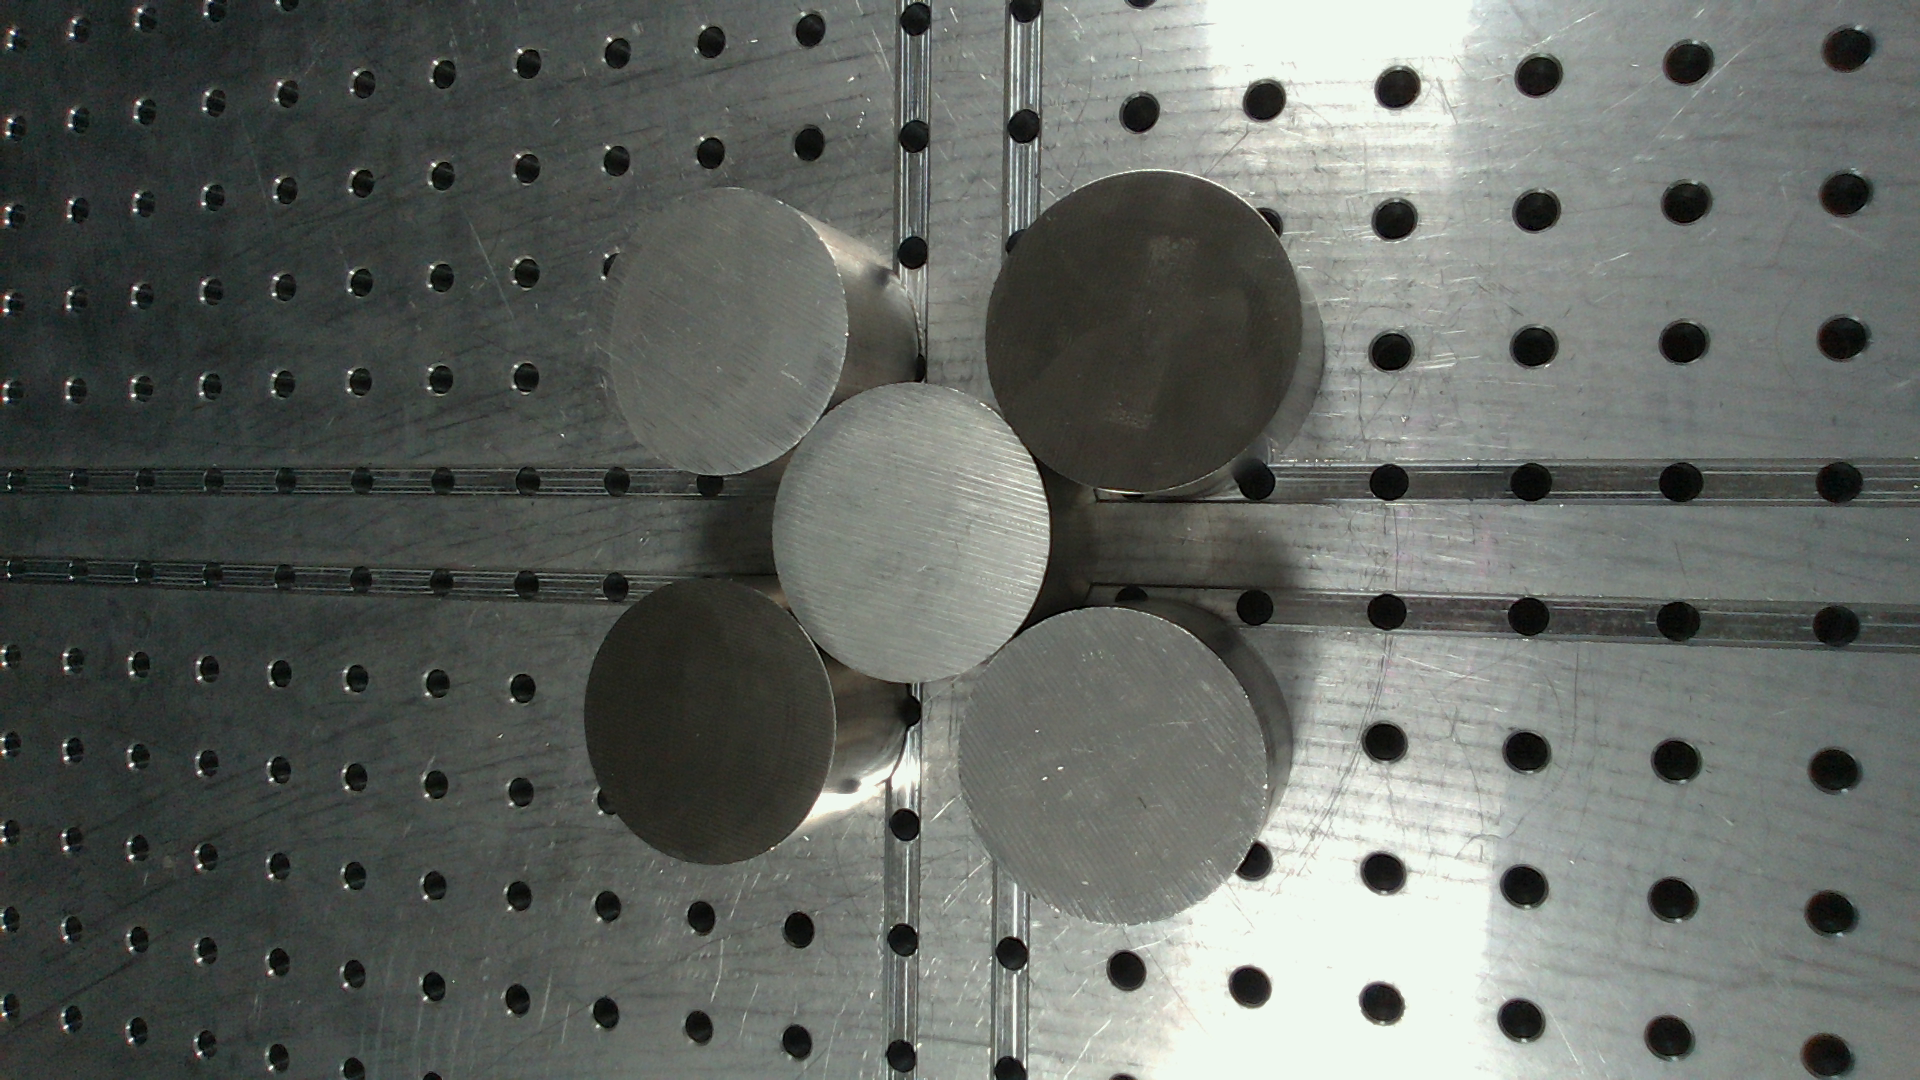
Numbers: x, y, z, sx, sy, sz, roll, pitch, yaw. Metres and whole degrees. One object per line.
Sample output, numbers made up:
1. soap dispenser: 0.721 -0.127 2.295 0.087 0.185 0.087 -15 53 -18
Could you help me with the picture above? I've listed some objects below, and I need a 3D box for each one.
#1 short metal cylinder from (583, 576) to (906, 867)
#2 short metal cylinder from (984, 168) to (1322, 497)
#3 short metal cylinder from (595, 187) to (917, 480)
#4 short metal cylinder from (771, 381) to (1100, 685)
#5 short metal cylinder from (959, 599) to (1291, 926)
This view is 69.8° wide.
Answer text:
1. short metal cylinder: -0.063 0.051 0.407 0.080 0.050 0.080 0 90 20
2. short metal cylinder: 0.052 -0.052 0.364 0.080 0.050 0.080 0 90 20
3. short metal cylinder: -0.059 -0.058 0.406 0.080 0.050 0.080 0 90 20
4. short metal cylinder: -0.006 -0.002 0.386 0.080 0.050 0.080 0 90 20
5. short metal cylinder: 0.046 0.057 0.368 0.080 0.050 0.080 0 90 20
